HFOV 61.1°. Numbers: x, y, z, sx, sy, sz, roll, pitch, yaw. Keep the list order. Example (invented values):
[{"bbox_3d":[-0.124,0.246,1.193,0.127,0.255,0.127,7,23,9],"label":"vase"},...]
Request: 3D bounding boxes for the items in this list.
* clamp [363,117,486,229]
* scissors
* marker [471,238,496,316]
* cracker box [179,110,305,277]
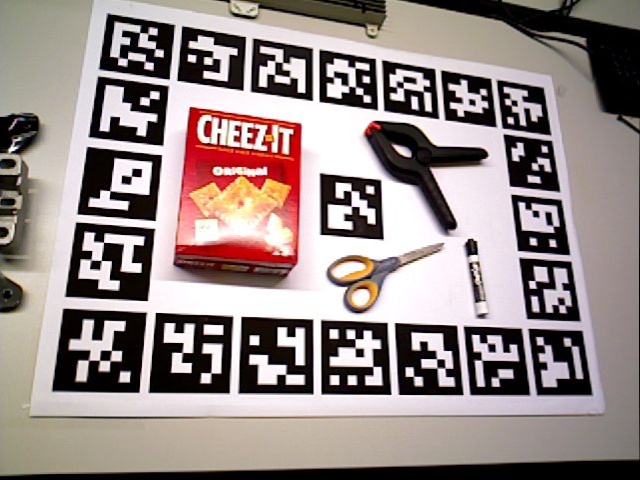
[{"bbox_3d":[0.157,-0.132,0.876,0.202,0.037,0.162,33,65,-3],"label":"clamp"},{"bbox_3d":[0.113,0.039,0.801,0.199,0.016,0.087,-25,79,-24],"label":"scissors"},{"bbox_3d":[0.250,0.055,0.832,0.019,0.020,0.120,1,71,-15],"label":"marker"},{"bbox_3d":[-0.104,-0.065,0.749,0.162,0.073,0.212,6,70,-13],"label":"cracker box"}]
